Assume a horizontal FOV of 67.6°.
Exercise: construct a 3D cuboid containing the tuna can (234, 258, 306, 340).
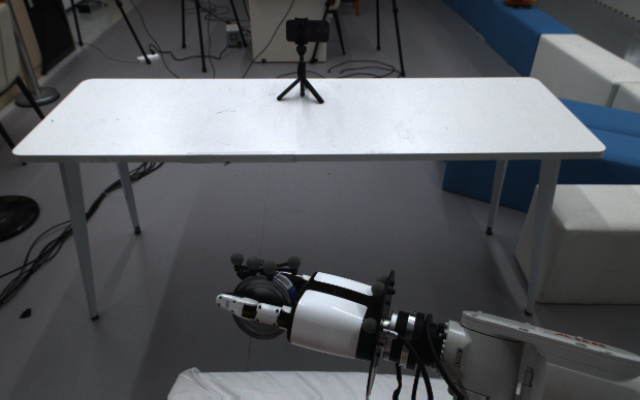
[{"bbox_3d":[-0.069,0.138,0.639,0.085,0.085,0.034,12,8,14],"label":"tuna can"}]
